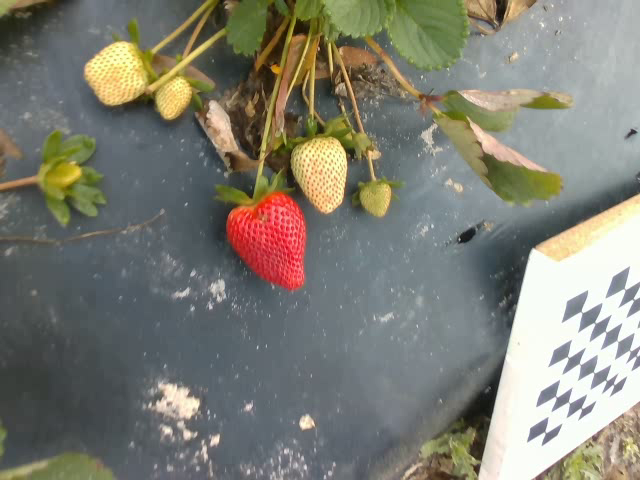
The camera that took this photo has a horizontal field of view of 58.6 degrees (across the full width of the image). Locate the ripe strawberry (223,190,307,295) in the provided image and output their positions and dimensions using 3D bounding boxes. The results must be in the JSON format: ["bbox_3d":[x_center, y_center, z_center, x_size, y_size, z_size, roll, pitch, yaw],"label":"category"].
[{"bbox_3d":[-0.025,0.001,0.296,0.050,0.059,0.034,-29,-5,-13],"label":"ripe strawberry"}]
